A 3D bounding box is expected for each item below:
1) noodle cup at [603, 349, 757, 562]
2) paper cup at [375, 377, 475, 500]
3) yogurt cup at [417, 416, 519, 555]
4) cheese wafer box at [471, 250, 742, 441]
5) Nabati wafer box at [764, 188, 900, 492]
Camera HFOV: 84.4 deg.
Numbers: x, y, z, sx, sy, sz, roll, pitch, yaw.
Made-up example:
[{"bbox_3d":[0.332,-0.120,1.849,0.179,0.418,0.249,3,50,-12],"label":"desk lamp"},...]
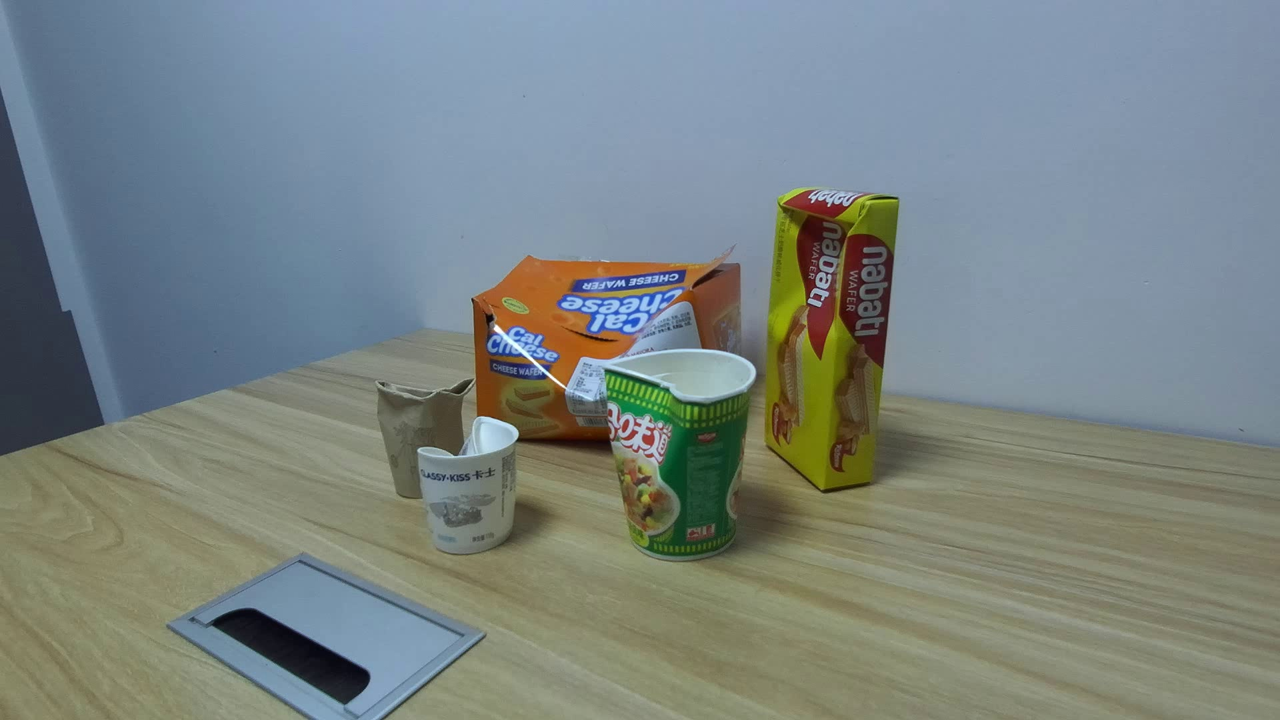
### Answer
[{"bbox_3d":[0.029,0.057,0.433,0.087,0.109,0.093,-7,20,-12],"label":"noodle cup"},{"bbox_3d":[-0.158,0.054,0.532,0.066,0.083,0.058,10,21,30],"label":"paper cup"},{"bbox_3d":[-0.108,0.081,0.454,0.067,0.070,0.067,-2,16,1],"label":"yogurt cup"},{"bbox_3d":[-0.026,-0.017,0.627,0.218,0.145,0.191,1,18,12],"label":"cheese wafer box"},{"bbox_3d":[0.129,-0.016,0.504,0.042,0.203,0.096,-6,19,-17],"label":"Nabati wafer box"}]
